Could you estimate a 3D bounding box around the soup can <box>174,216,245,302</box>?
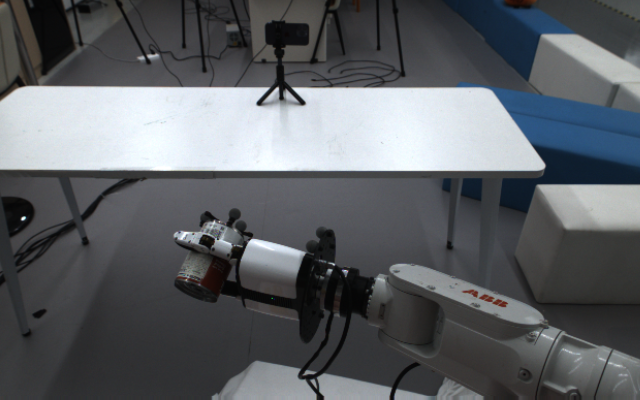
[{"bbox_3d":[-0.159,0.089,0.704,0.067,0.067,0.101,12,59,14],"label":"soup can"}]
